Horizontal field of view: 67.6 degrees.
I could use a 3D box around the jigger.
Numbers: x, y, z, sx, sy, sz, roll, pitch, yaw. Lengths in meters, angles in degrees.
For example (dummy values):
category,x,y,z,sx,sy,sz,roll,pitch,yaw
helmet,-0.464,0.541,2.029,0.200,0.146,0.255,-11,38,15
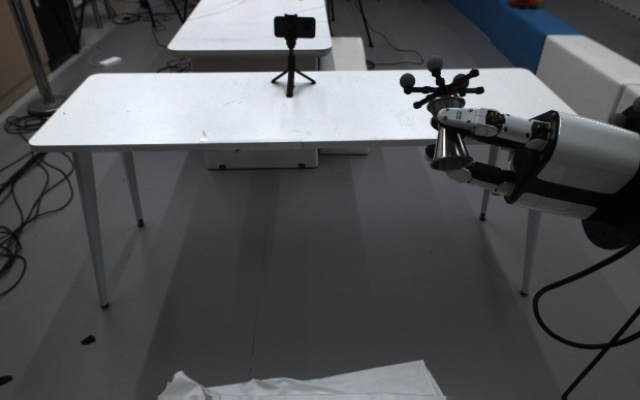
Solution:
category,x,y,z,sx,sy,sz,roll,pitch,yaw
jigger,0.137,-0.072,0.510,0.043,0.043,0.071,0,75,-3
